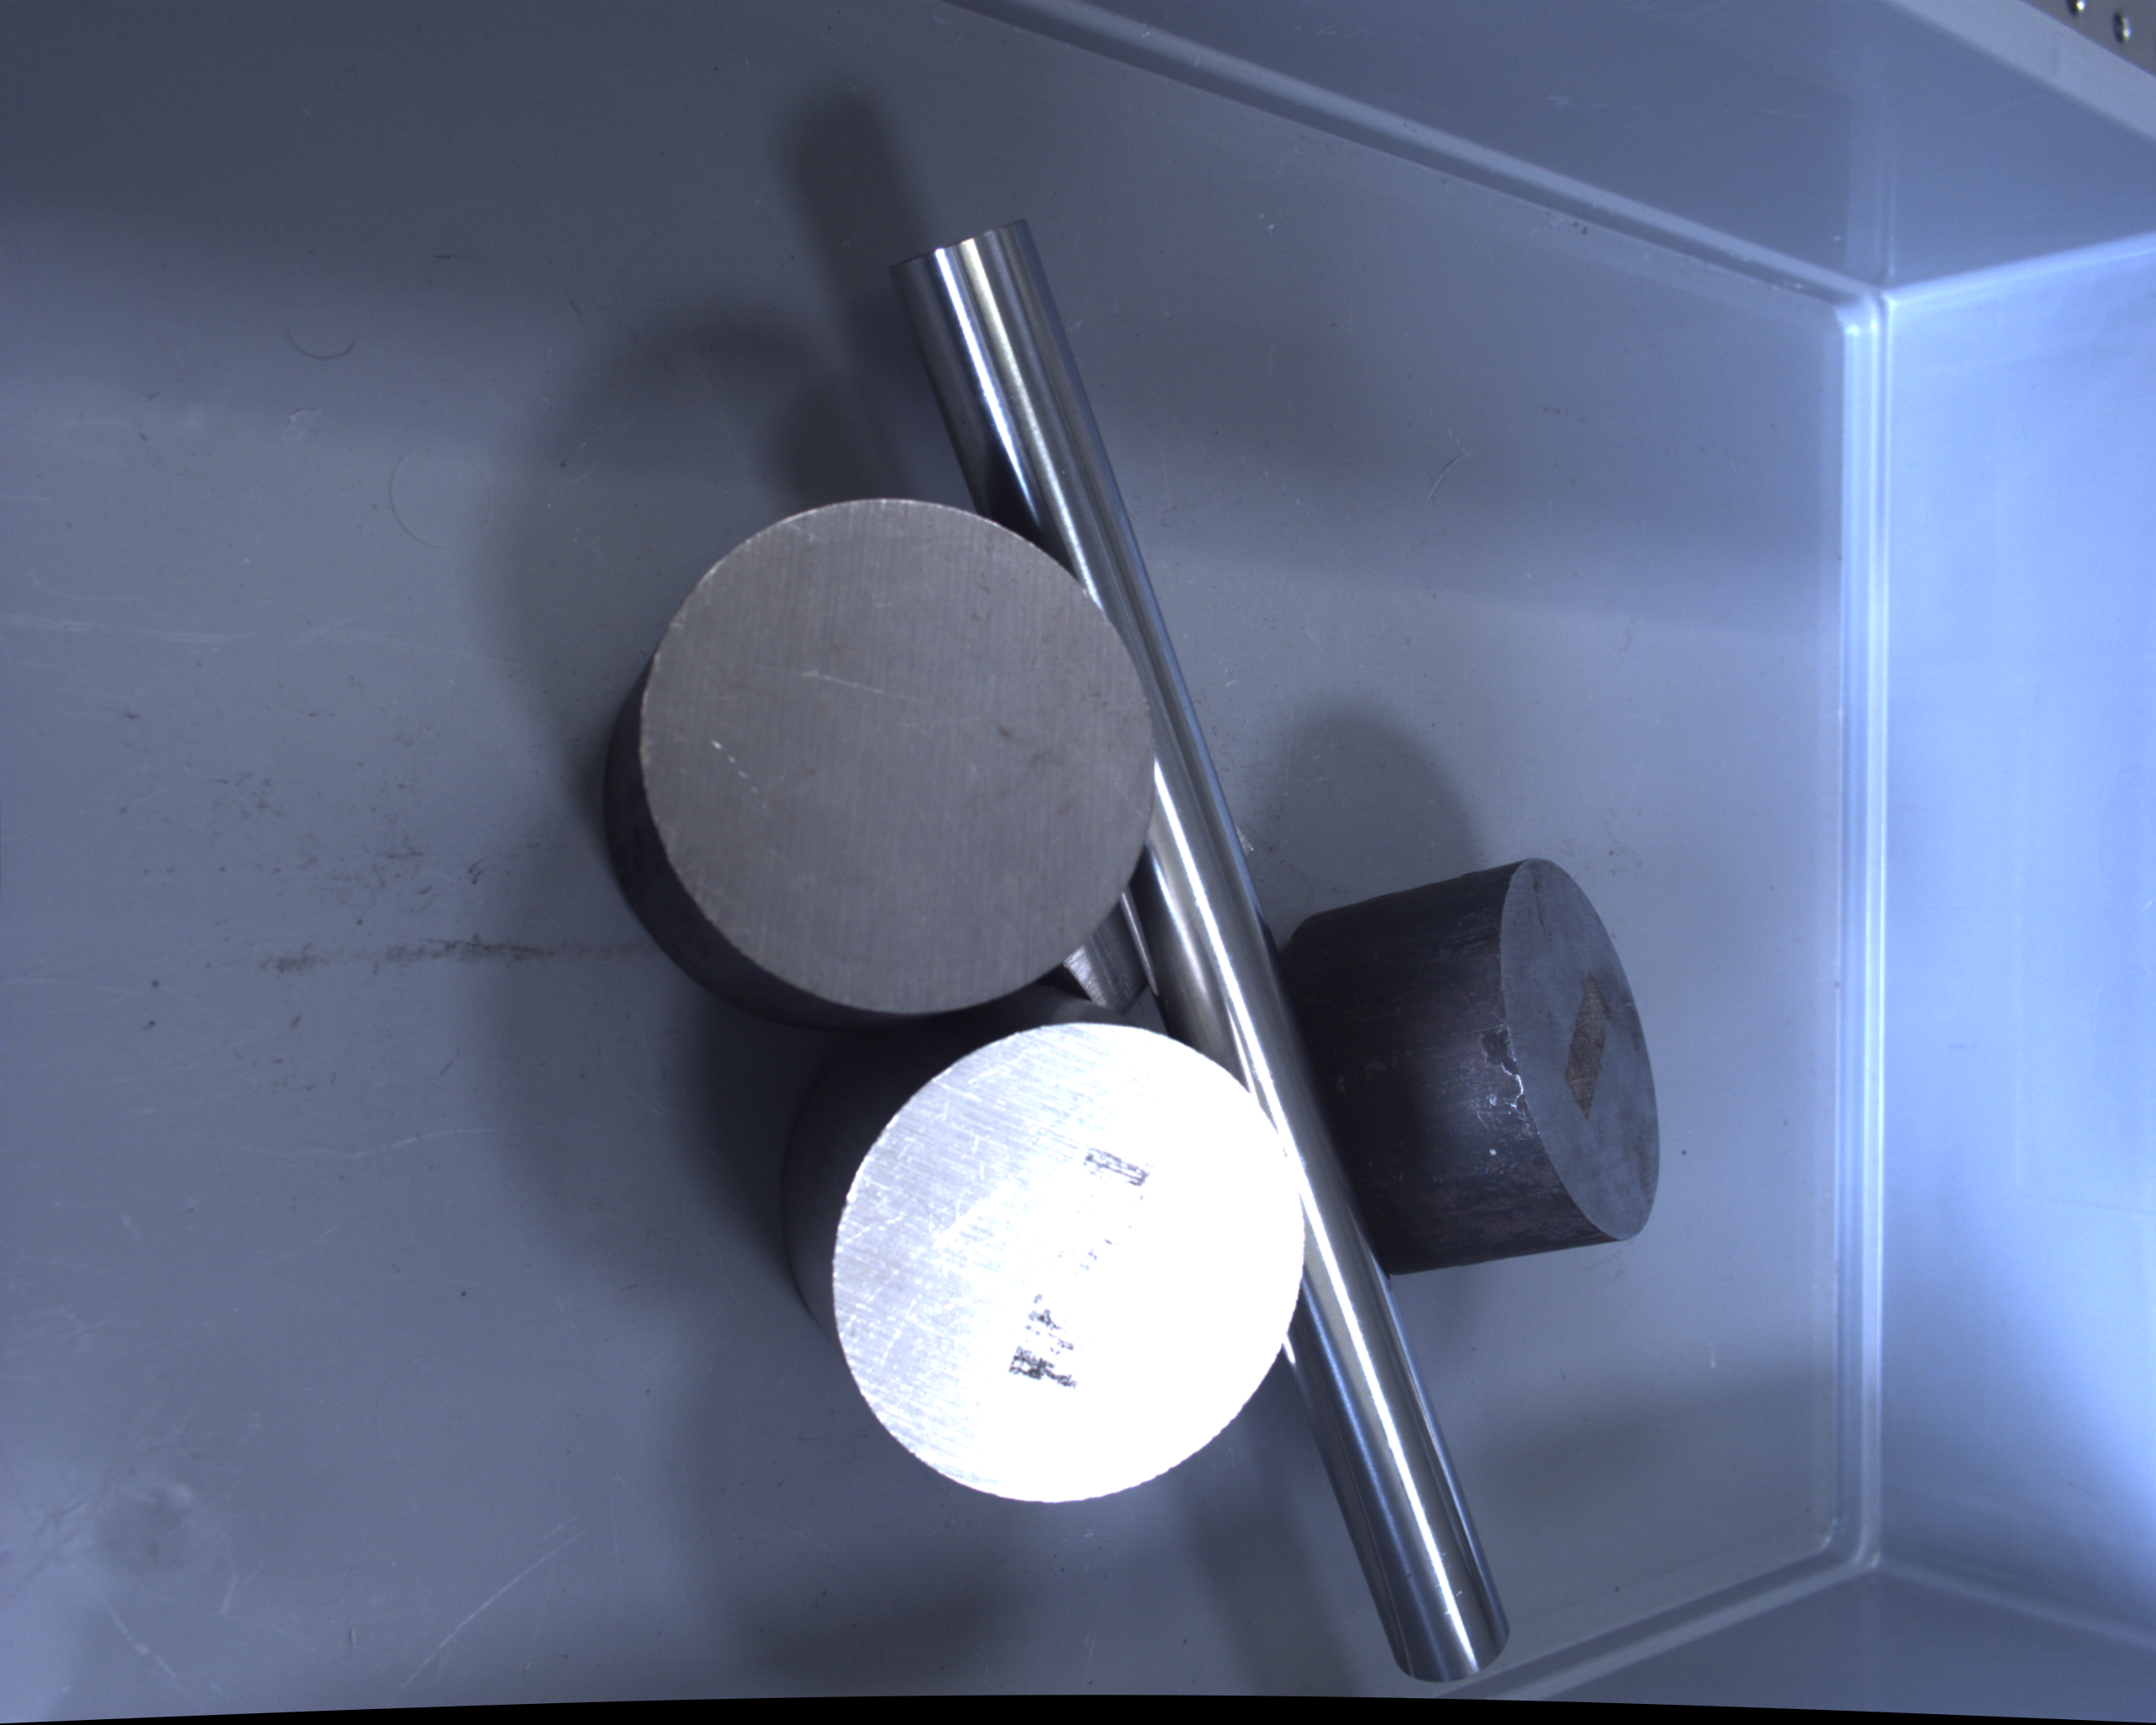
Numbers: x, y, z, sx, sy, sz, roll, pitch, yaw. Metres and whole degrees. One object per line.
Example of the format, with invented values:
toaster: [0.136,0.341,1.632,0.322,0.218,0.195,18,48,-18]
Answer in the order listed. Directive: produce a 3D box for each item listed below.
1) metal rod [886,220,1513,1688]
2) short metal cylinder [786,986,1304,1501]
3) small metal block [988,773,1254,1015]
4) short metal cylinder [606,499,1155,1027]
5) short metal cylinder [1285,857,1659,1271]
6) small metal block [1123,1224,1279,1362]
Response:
metal rod: [0.029,0.029,0.396,0.025,0.025,0.298,-32,110,-35]
short metal cylinder: [-0.008,0.064,0.365,0.081,0.050,0.079,-1,94,-17]
small metal block: [0.000,-0.004,0.405,0.050,0.025,0.050,-51,120,-28]
short metal cylinder: [-0.034,-0.014,0.342,0.081,0.050,0.080,3,81,-19]
short metal cylinder: [0.084,0.044,0.442,0.080,0.050,0.080,33,49,-48]
small metal block: [0.029,0.073,0.429,0.050,0.025,0.050,-48,119,-29]
